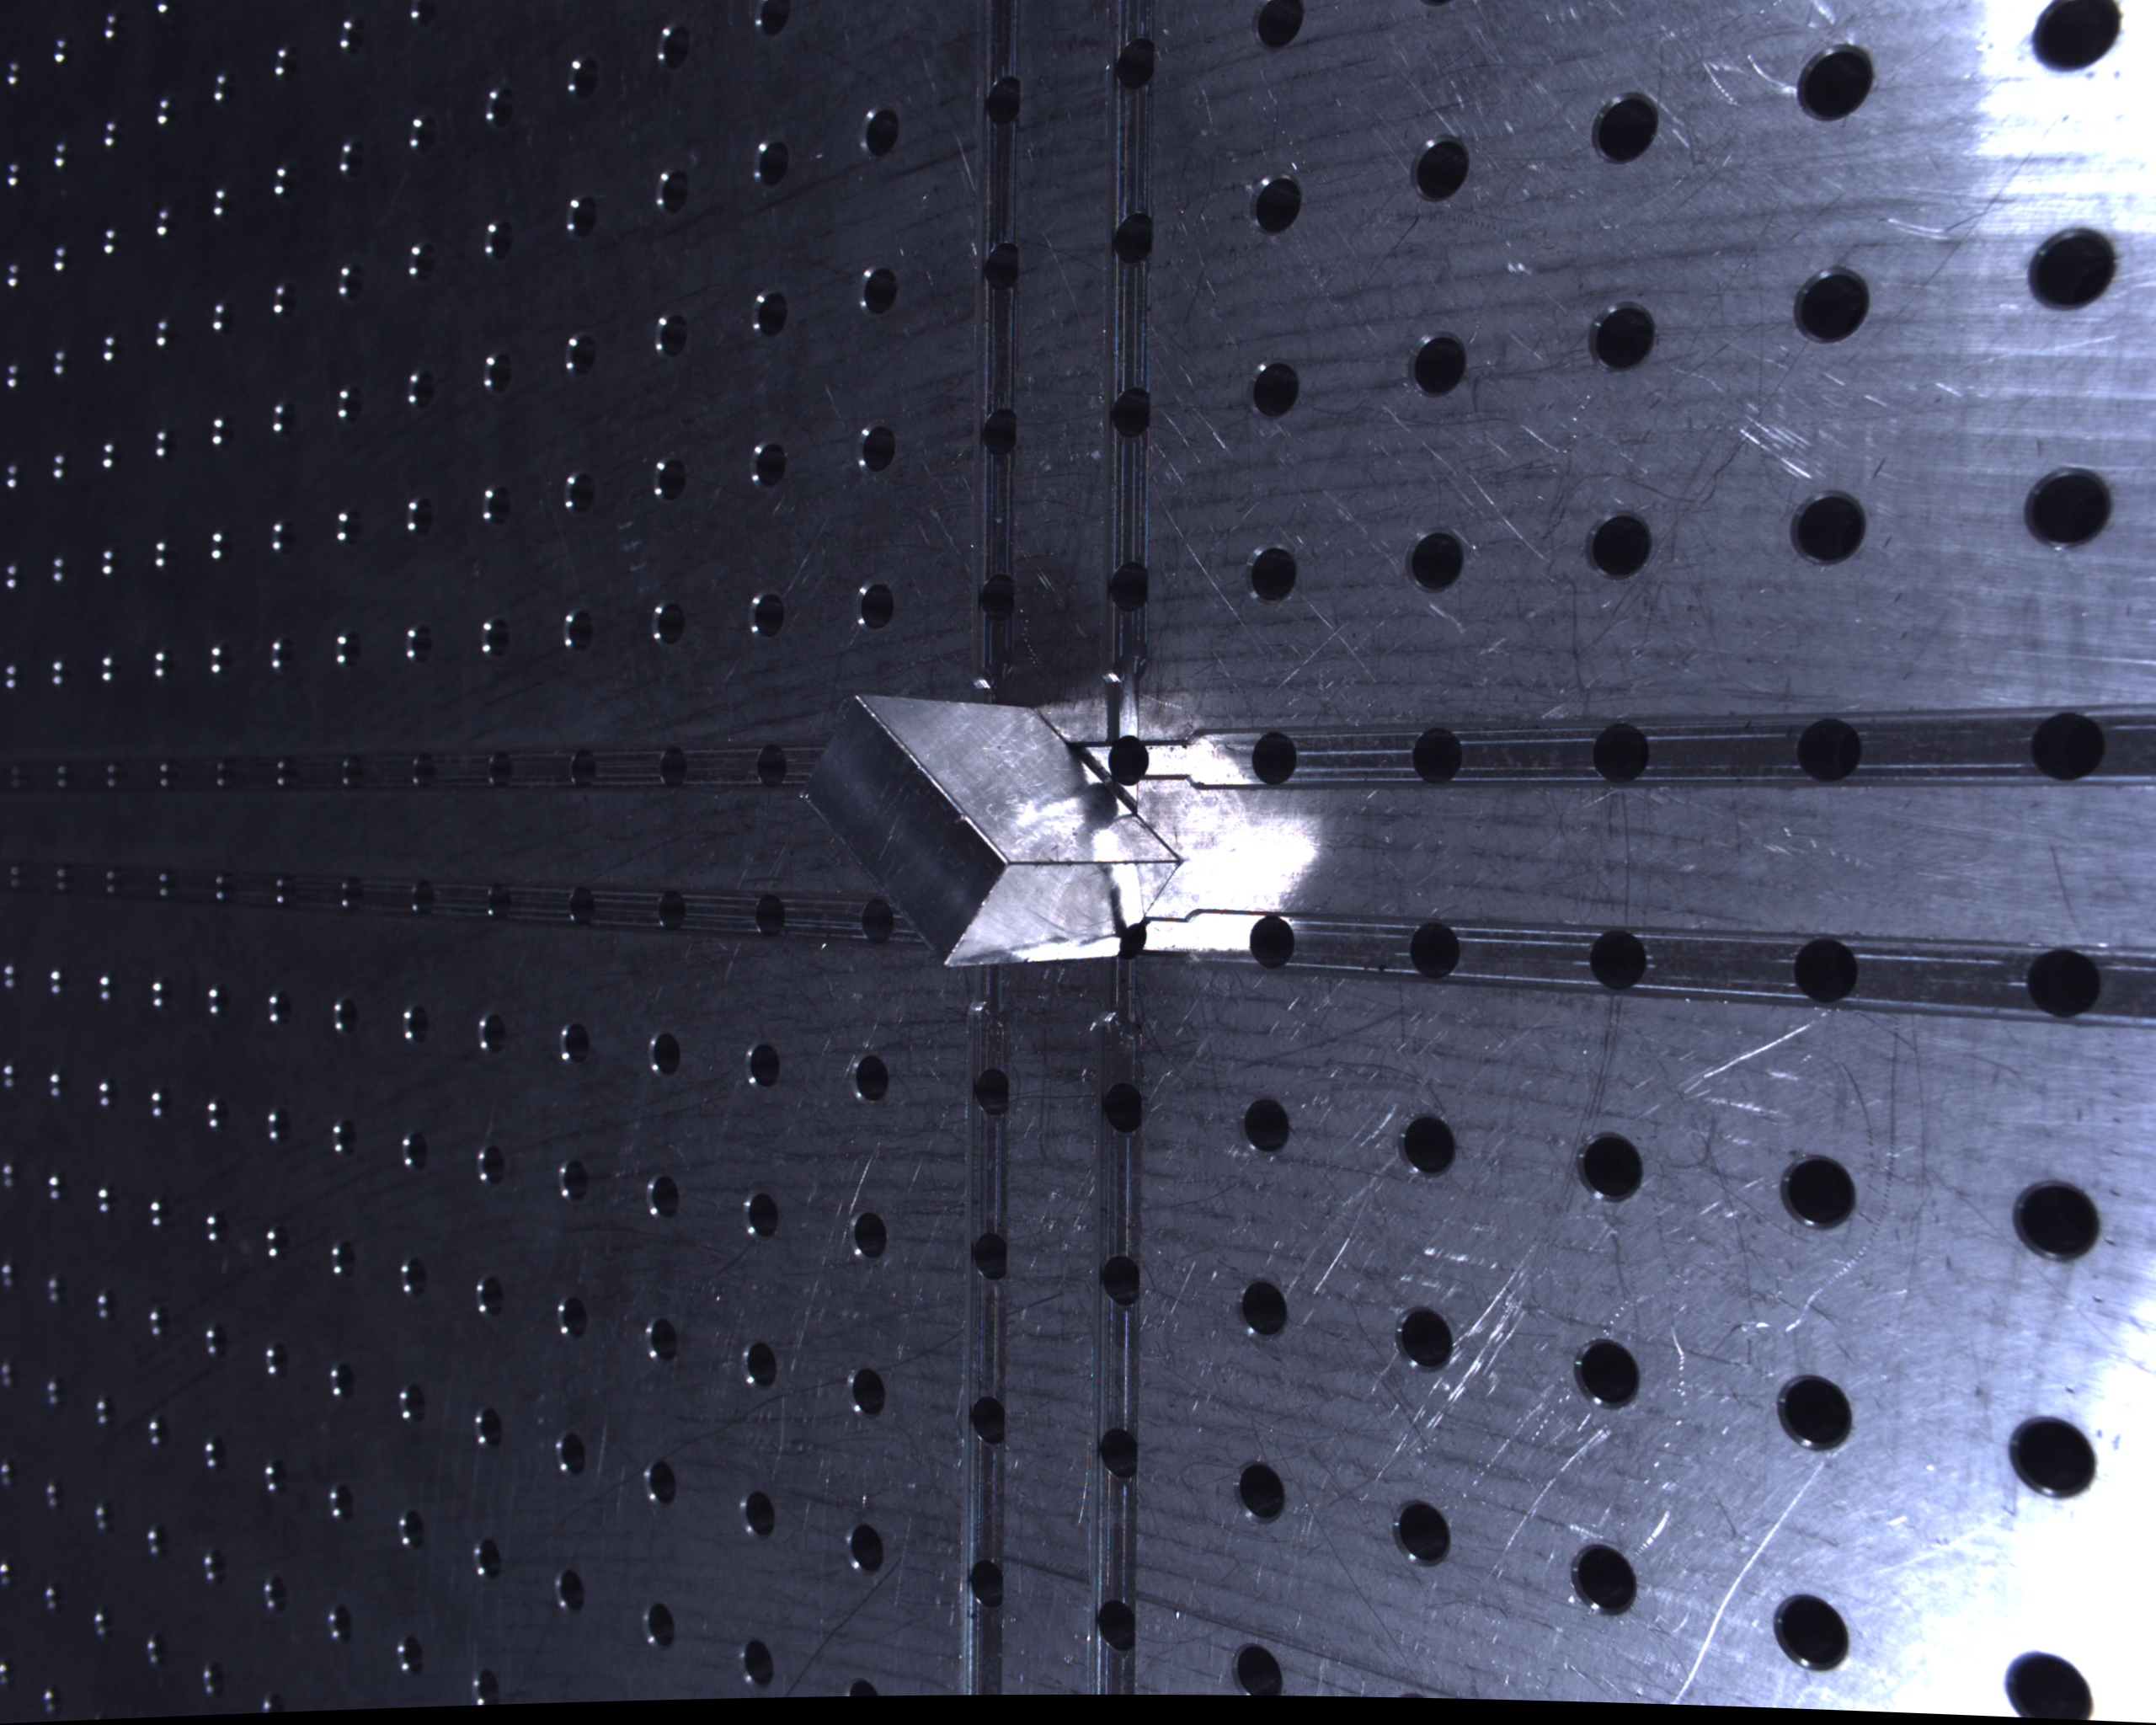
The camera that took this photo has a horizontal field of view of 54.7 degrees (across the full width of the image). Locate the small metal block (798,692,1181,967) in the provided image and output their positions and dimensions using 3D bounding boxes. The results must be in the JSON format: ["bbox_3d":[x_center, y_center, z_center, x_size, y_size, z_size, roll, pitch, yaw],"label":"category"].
[{"bbox_3d":[-0.017,-0.007,0.405,0.050,0.050,0.025,47,118,29],"label":"small metal block"}]
